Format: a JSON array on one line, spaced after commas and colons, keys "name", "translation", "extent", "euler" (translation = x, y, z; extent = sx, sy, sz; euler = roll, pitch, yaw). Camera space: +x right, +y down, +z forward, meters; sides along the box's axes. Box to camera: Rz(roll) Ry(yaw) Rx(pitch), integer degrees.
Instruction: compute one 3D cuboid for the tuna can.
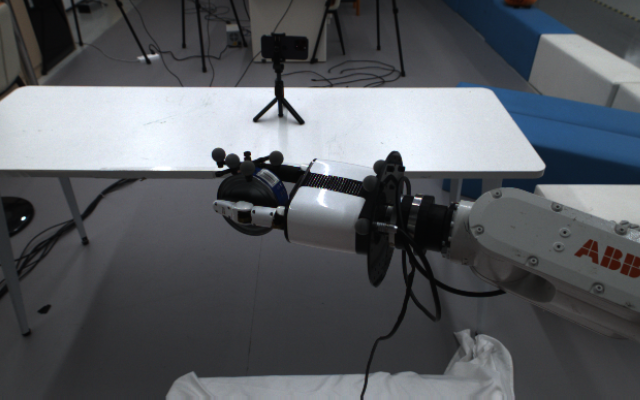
[{"name": "tuna can", "translation": [-0.082, -0.001, 0.611], "extent": [0.085, 0.085, 0.034], "euler": [14, 29, 16]}]
